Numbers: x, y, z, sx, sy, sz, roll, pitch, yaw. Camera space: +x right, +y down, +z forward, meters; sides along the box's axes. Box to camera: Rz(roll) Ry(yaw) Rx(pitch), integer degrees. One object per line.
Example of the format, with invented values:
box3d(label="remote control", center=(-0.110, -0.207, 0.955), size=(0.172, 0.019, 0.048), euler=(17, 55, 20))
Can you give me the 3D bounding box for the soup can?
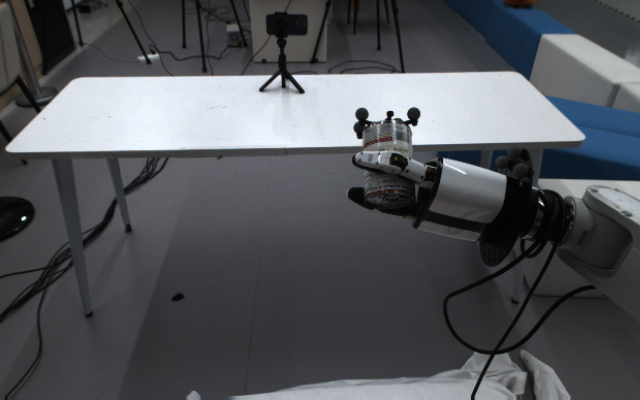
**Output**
box3d(label="soup can", center=(0.091, -0.046, 0.639), size=(0.067, 0.067, 0.101), euler=(1, 73, -2))
